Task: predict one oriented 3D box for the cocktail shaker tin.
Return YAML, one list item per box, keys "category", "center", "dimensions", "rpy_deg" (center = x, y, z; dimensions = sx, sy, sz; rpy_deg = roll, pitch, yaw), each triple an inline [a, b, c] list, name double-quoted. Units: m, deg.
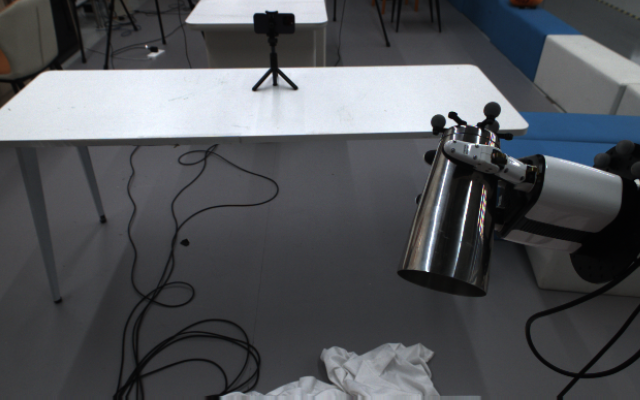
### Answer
- category: "cocktail shaker tin"
  center: [0.150, 0.007, 0.526]
  dimensions: [0.093, 0.093, 0.170]
  rpy_deg: [12, 72, 14]
